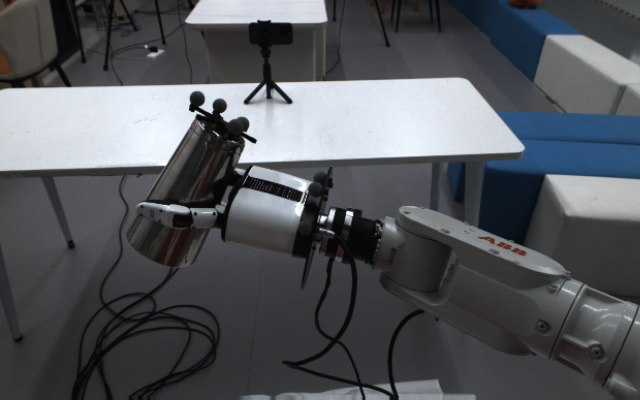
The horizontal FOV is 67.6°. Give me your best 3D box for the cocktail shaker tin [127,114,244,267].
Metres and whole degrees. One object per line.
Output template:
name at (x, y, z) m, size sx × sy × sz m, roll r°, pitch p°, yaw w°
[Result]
cocktail shaker tin at (-0.159, -0.014, 0.596) m, size 0.093 × 0.170 × 0.093 m, roll 28°, pitch 14°, yaw -7°
